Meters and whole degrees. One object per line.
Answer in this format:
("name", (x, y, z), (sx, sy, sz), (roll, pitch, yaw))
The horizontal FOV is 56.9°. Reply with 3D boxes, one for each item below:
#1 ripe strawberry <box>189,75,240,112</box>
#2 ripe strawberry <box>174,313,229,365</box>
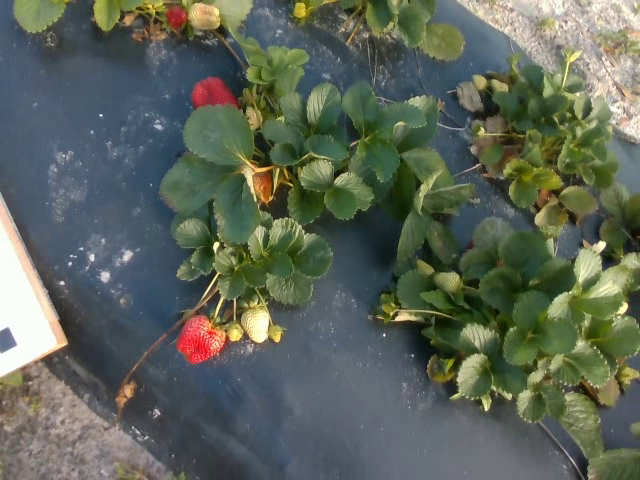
("ripe strawberry", (-0.132, -0.170, 0.727), (0.058, 0.071, 0.057), (-17, 22, 5))
("ripe strawberry", (-0.130, 0.109, 0.621), (0.047, 0.050, 0.035), (43, -3, 6))
